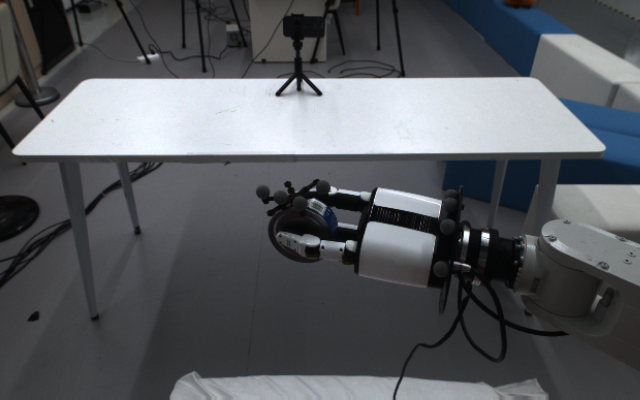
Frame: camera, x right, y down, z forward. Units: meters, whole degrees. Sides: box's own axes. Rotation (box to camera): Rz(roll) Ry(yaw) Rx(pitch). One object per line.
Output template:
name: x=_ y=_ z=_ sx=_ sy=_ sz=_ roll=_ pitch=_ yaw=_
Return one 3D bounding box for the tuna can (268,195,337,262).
tuna can: x=-0.018 y=0.042 z=0.618 sx=0.085 sy=0.085 sz=0.034 roll=10 pitch=33 yaw=11
